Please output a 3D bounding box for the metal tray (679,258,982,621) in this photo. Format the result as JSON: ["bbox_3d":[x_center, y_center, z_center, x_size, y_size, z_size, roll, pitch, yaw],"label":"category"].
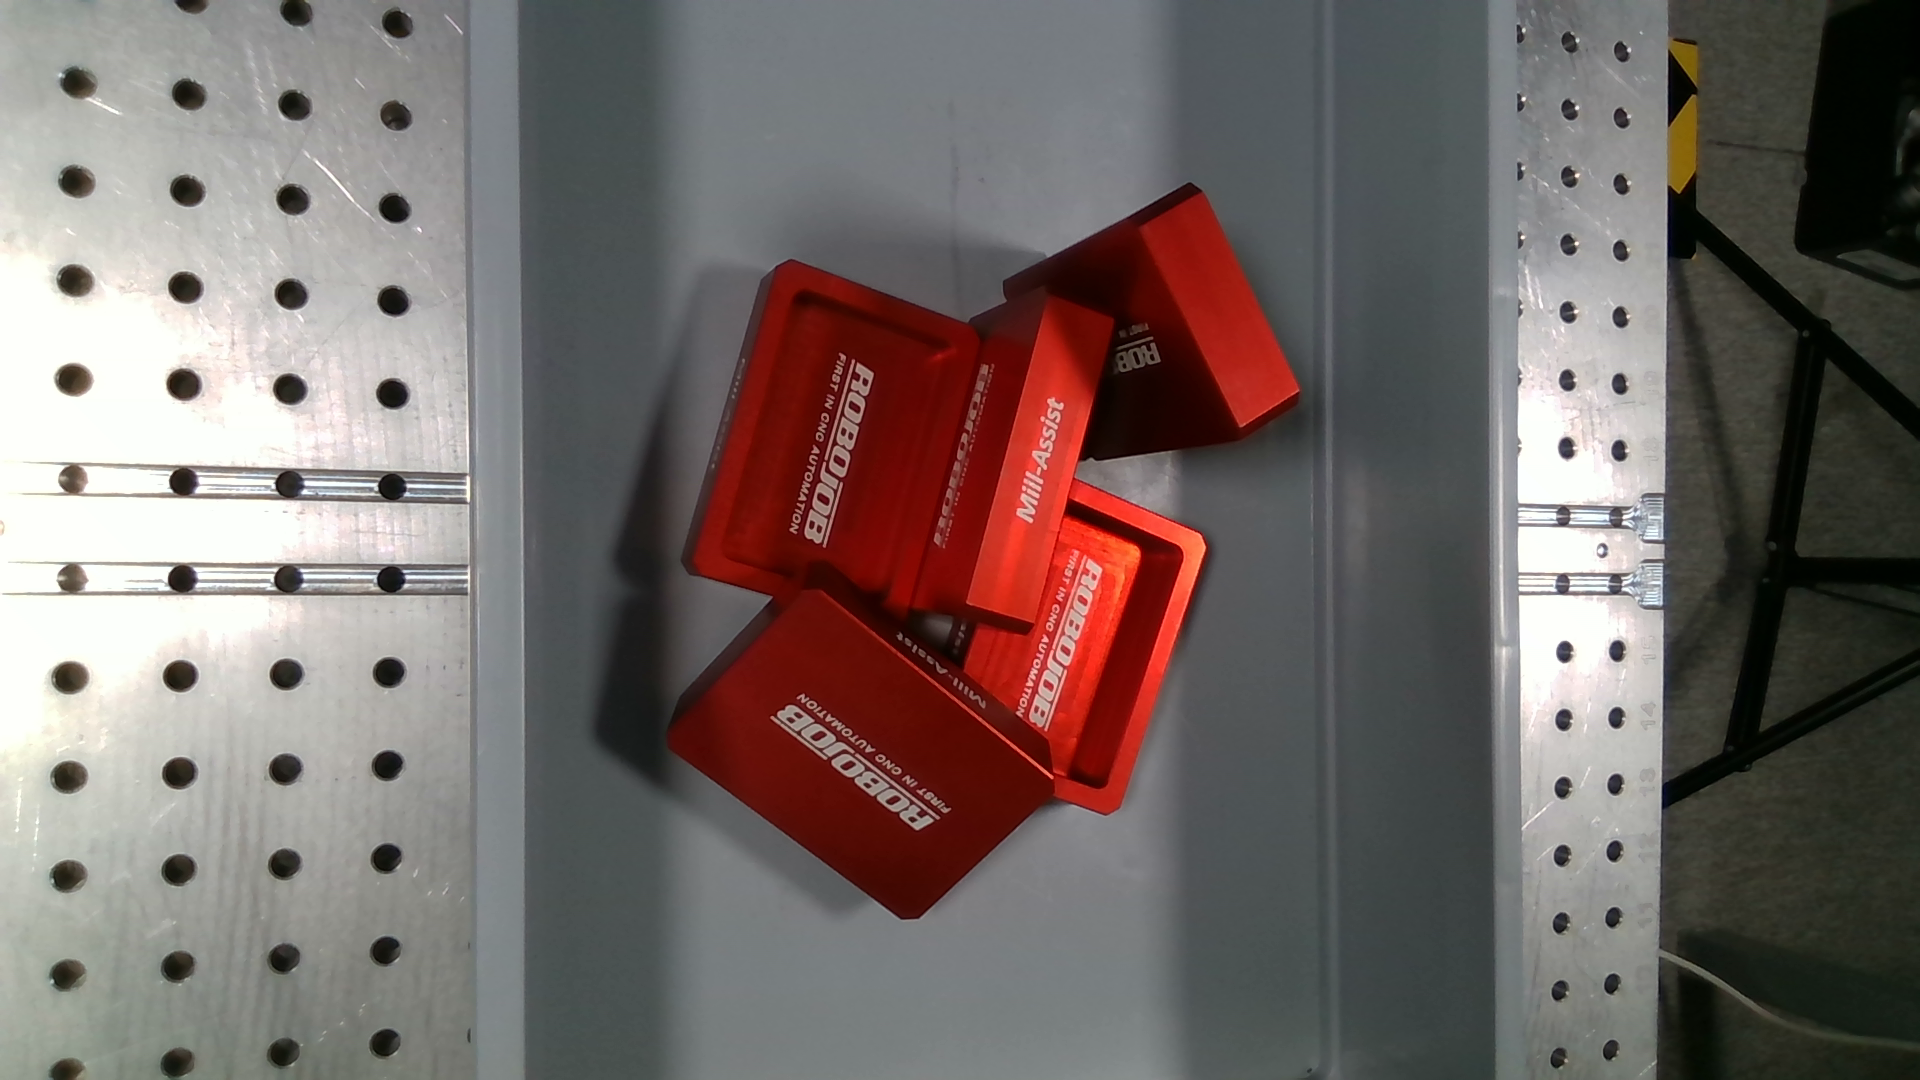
[{"bbox_3d":[-0.052,-0.037,0.561,0.090,0.030,0.130,17,84,-20],"label":"metal tray"}]

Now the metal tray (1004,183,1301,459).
[{"bbox_3d":[0.073,-0.082,0.554,0.030,0.130,0.090,-32,100,-17],"label":"metal tray"}]

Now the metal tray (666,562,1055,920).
[{"bbox_3d":[-0.038,0.082,0.547,0.130,0.030,0.090,40,106,-16],"label":"metal tray"}]

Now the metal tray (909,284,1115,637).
[{"bbox_3d":[0.015,-0.030,0.554,0.030,0.090,0.130,17,84,-19],"label":"metal tray"}]

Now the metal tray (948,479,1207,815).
[{"bbox_3d":[0.045,0.043,0.598,0.090,0.030,0.130,22,83,-19],"label":"metal tray"}]
